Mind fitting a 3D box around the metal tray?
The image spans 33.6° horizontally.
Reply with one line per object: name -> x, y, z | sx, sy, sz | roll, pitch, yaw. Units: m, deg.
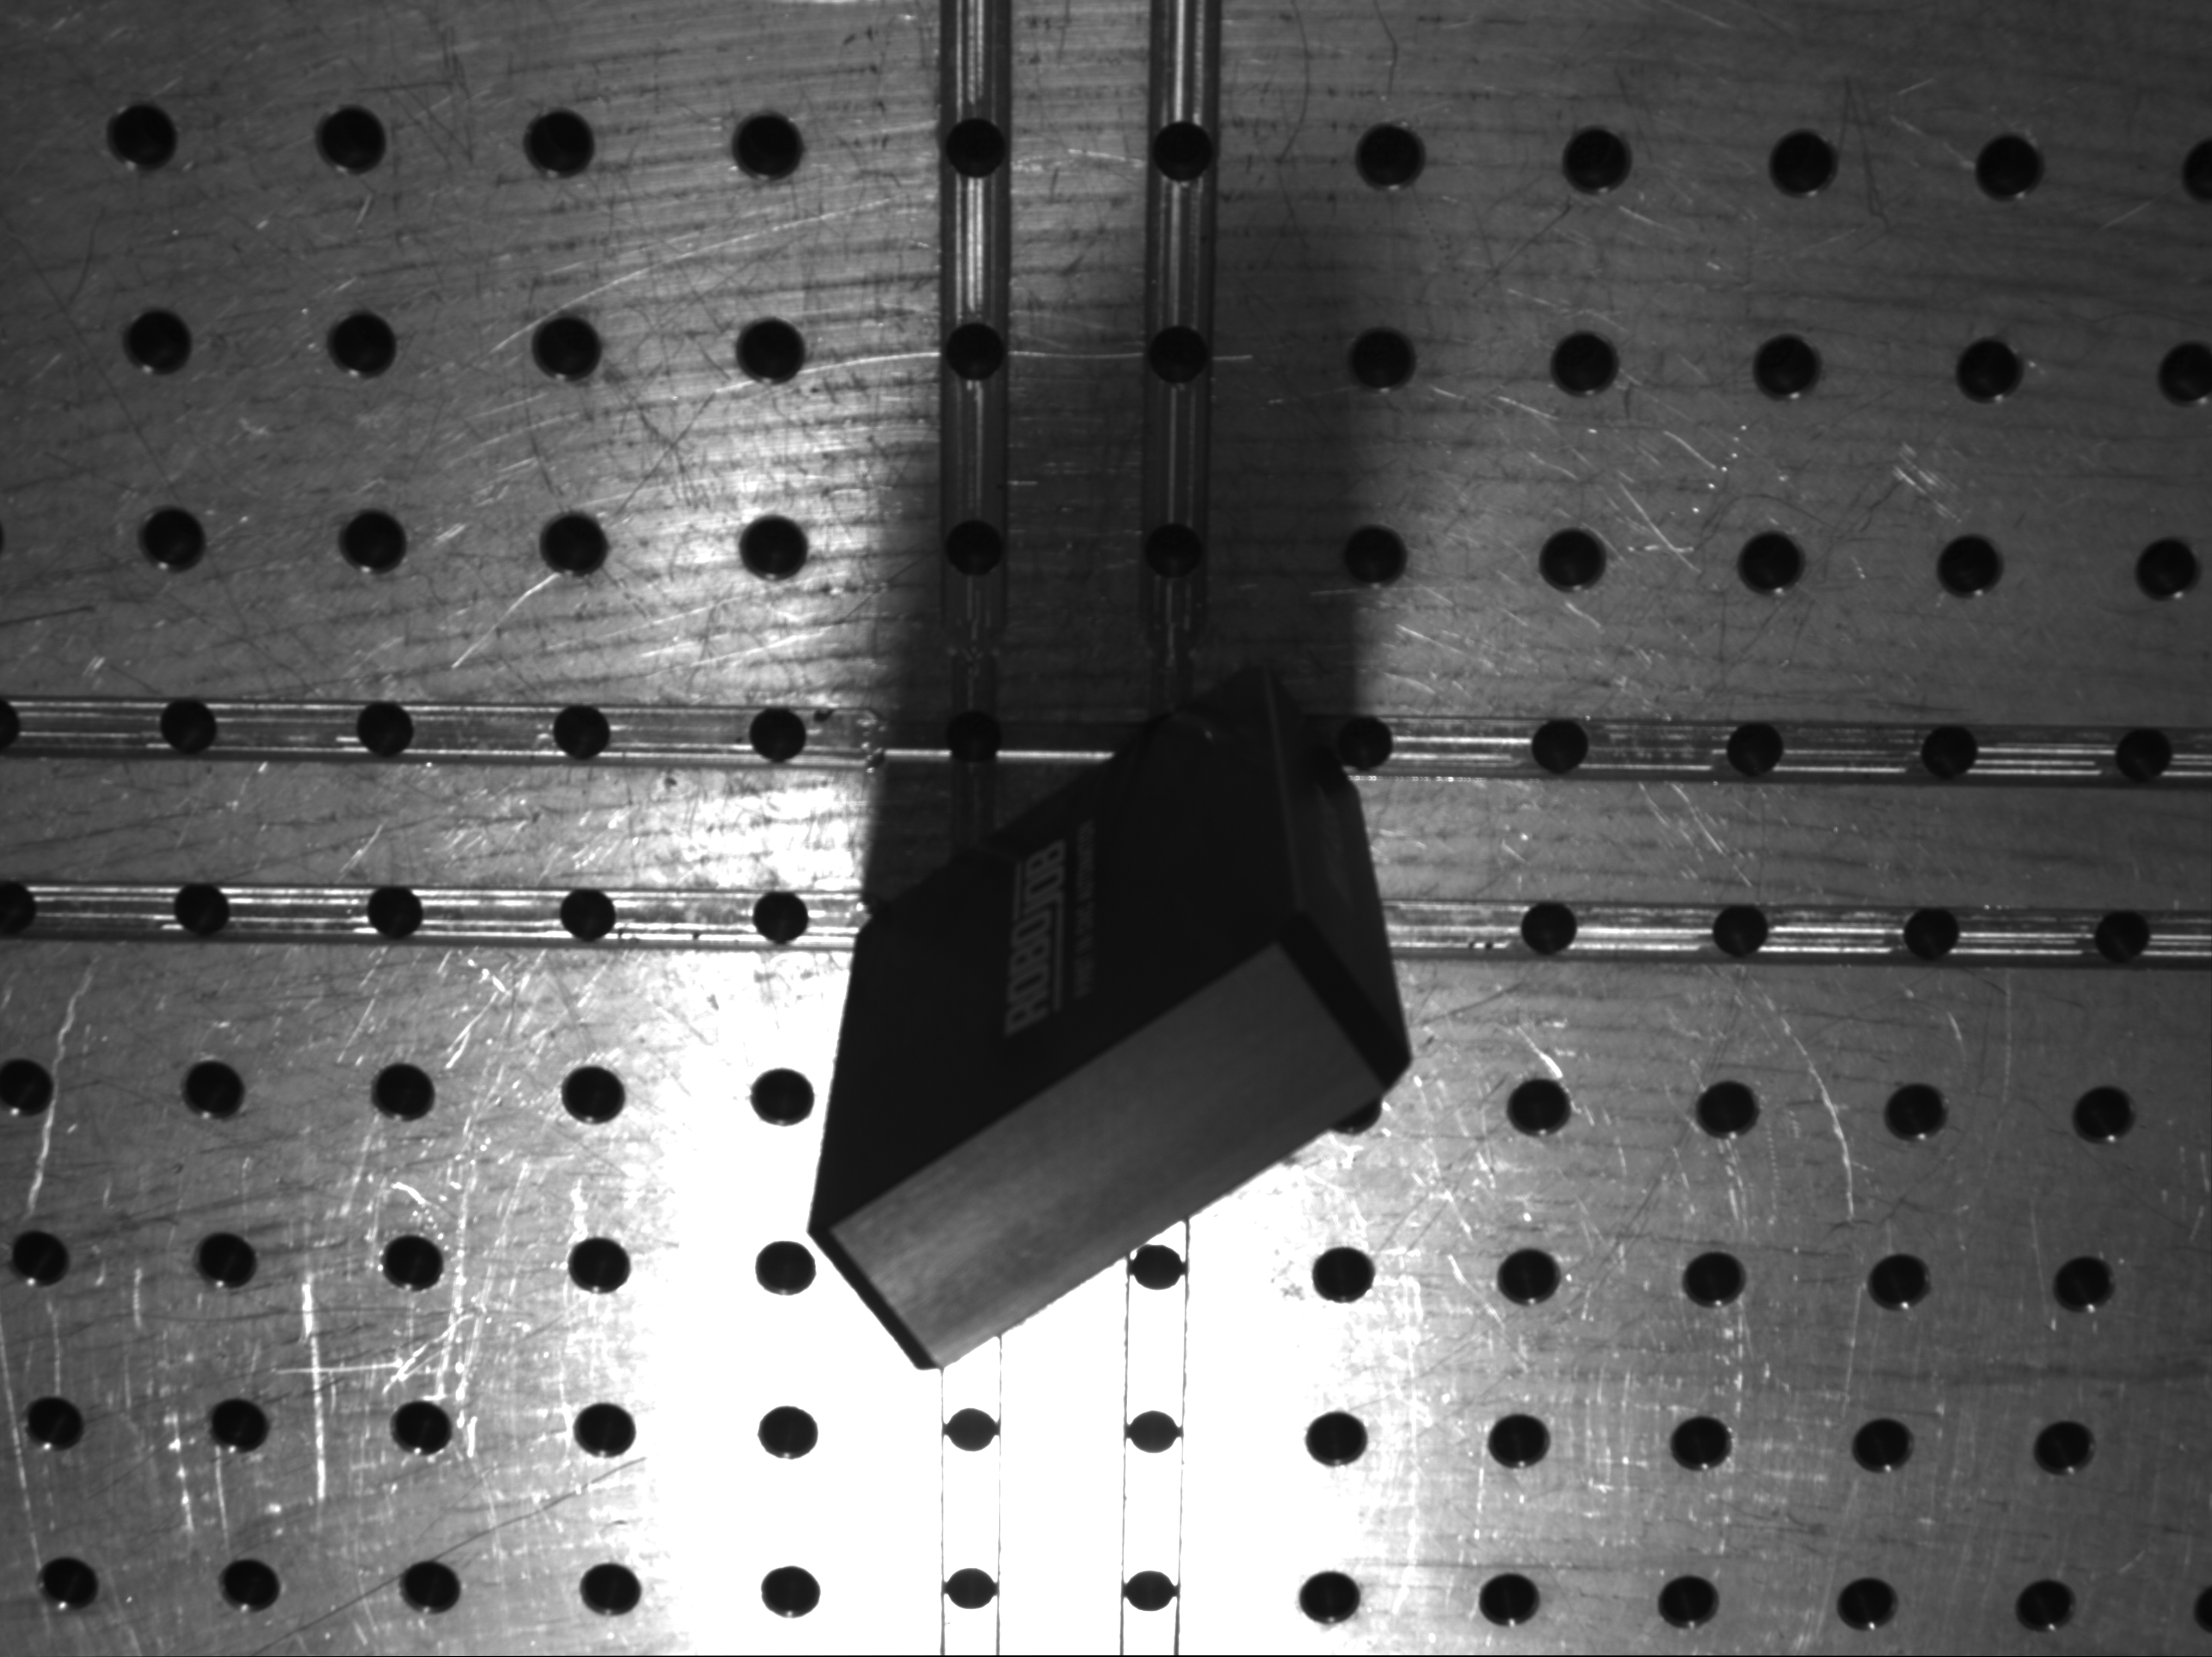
metal tray -> -0.003, 0.027, 0.599 | 0.090, 0.130, 0.030 | -33, 107, 11
